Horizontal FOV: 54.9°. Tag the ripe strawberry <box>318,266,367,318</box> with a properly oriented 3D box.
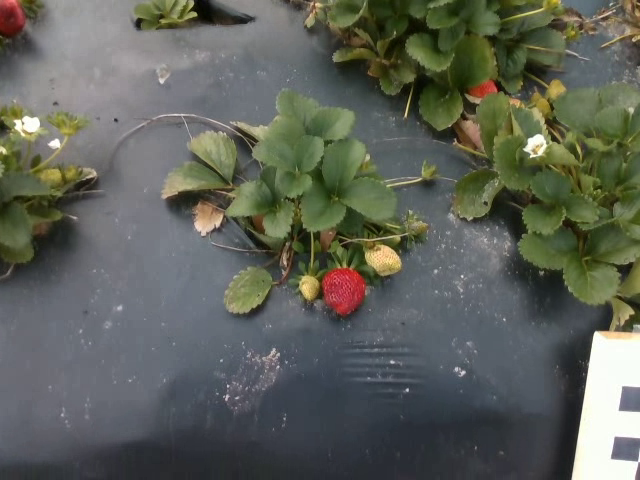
[{"bbox_3d":[0.022,0.053,0.564,0.047,0.045,0.059,-2,32,6],"label":"ripe strawberry"}]
